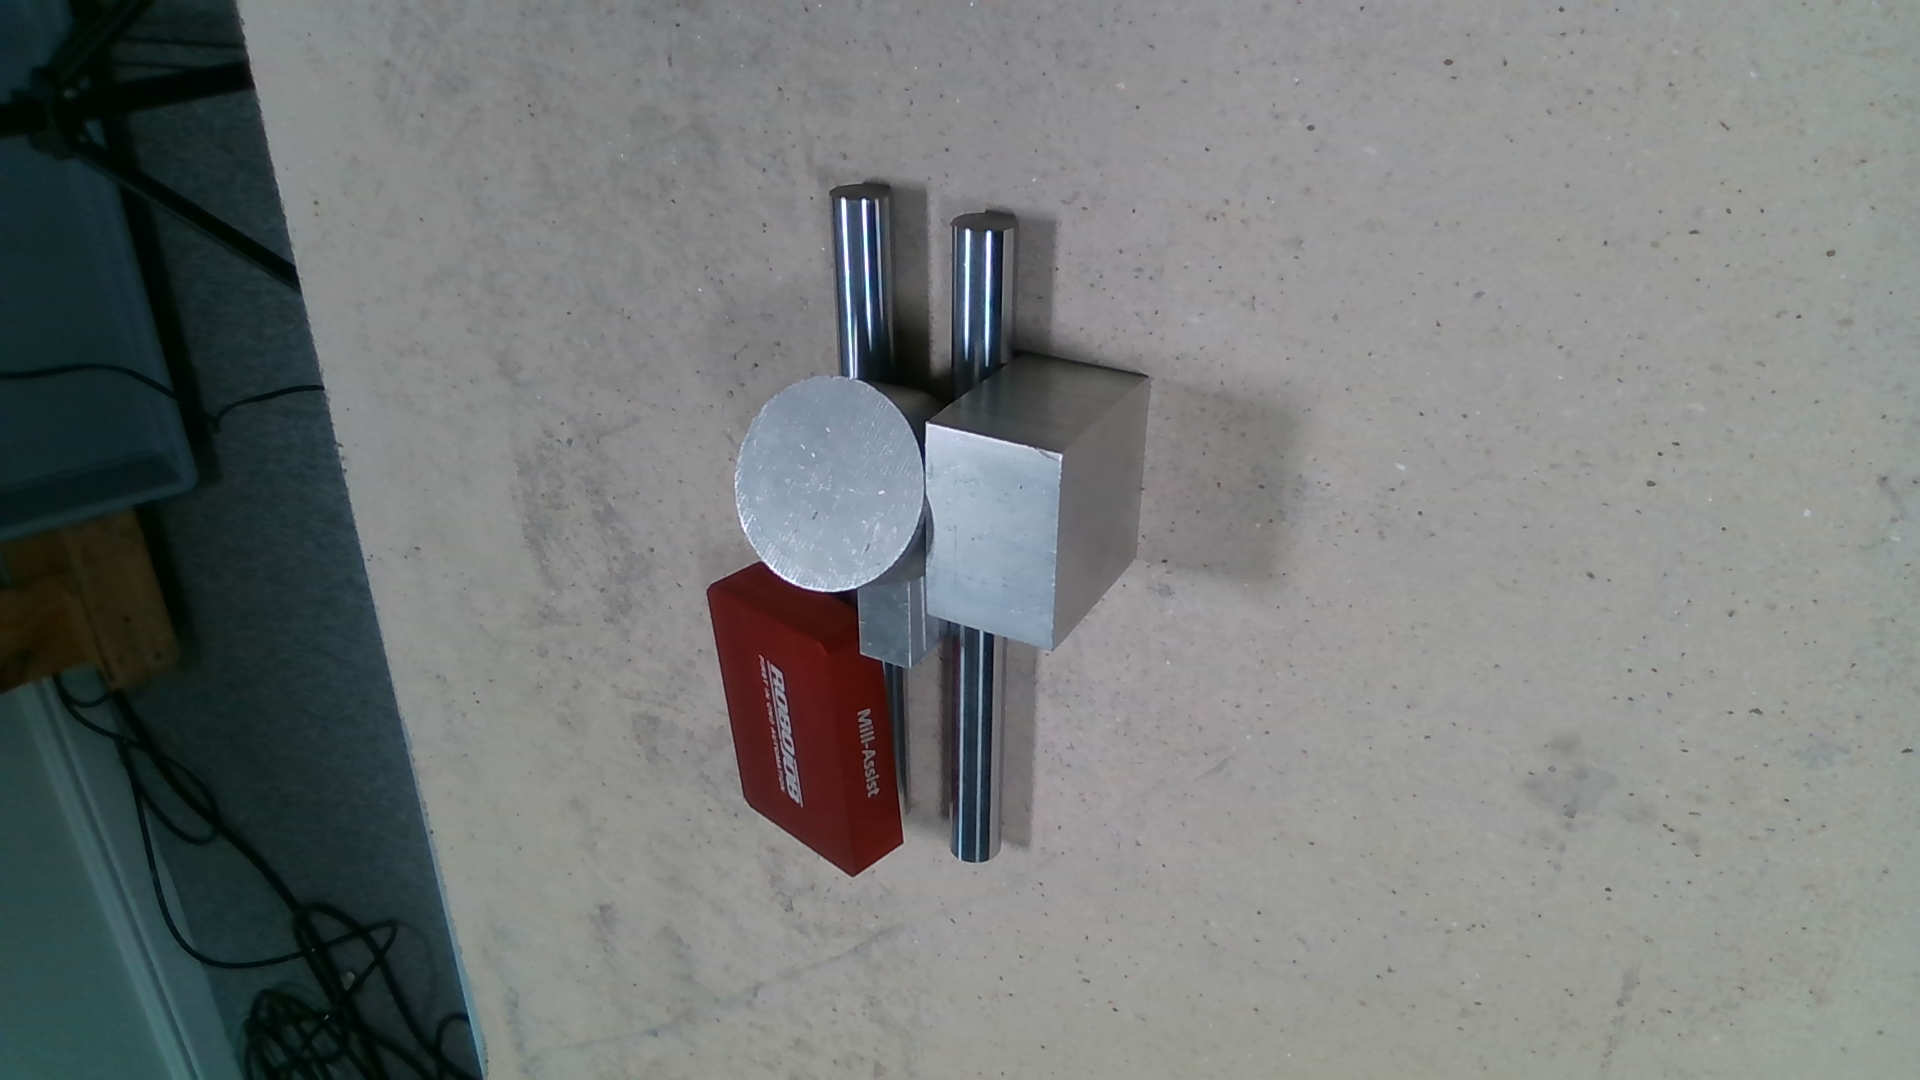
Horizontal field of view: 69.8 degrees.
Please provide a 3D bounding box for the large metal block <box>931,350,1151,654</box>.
[{"bbox_3d":[0.031,-0.017,0.517,0.050,0.080,0.080,15,122,24],"label":"large metal block"}]

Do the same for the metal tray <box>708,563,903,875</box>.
[{"bbox_3d":[-0.073,0.084,0.649,0.090,0.030,0.130,23,128,41],"label":"metal tray"}]

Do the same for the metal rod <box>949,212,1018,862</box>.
[{"bbox_3d":[0.008,0.013,0.583,0.025,0.025,0.301,15,122,24],"label":"metal rod"}]

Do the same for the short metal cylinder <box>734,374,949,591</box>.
[{"bbox_3d":[-0.039,-0.022,0.530,0.080,0.050,0.080,1,92,24],"label":"short metal cylinder"}]

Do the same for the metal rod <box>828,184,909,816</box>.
[{"bbox_3d":[-0.037,-0.002,0.602,0.025,0.025,0.301,14,122,25],"label":"metal rod"}]

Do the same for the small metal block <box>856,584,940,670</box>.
[{"bbox_3d":[-0.020,0.019,0.586,0.025,0.050,0.050,15,122,24],"label":"small metal block"}]
